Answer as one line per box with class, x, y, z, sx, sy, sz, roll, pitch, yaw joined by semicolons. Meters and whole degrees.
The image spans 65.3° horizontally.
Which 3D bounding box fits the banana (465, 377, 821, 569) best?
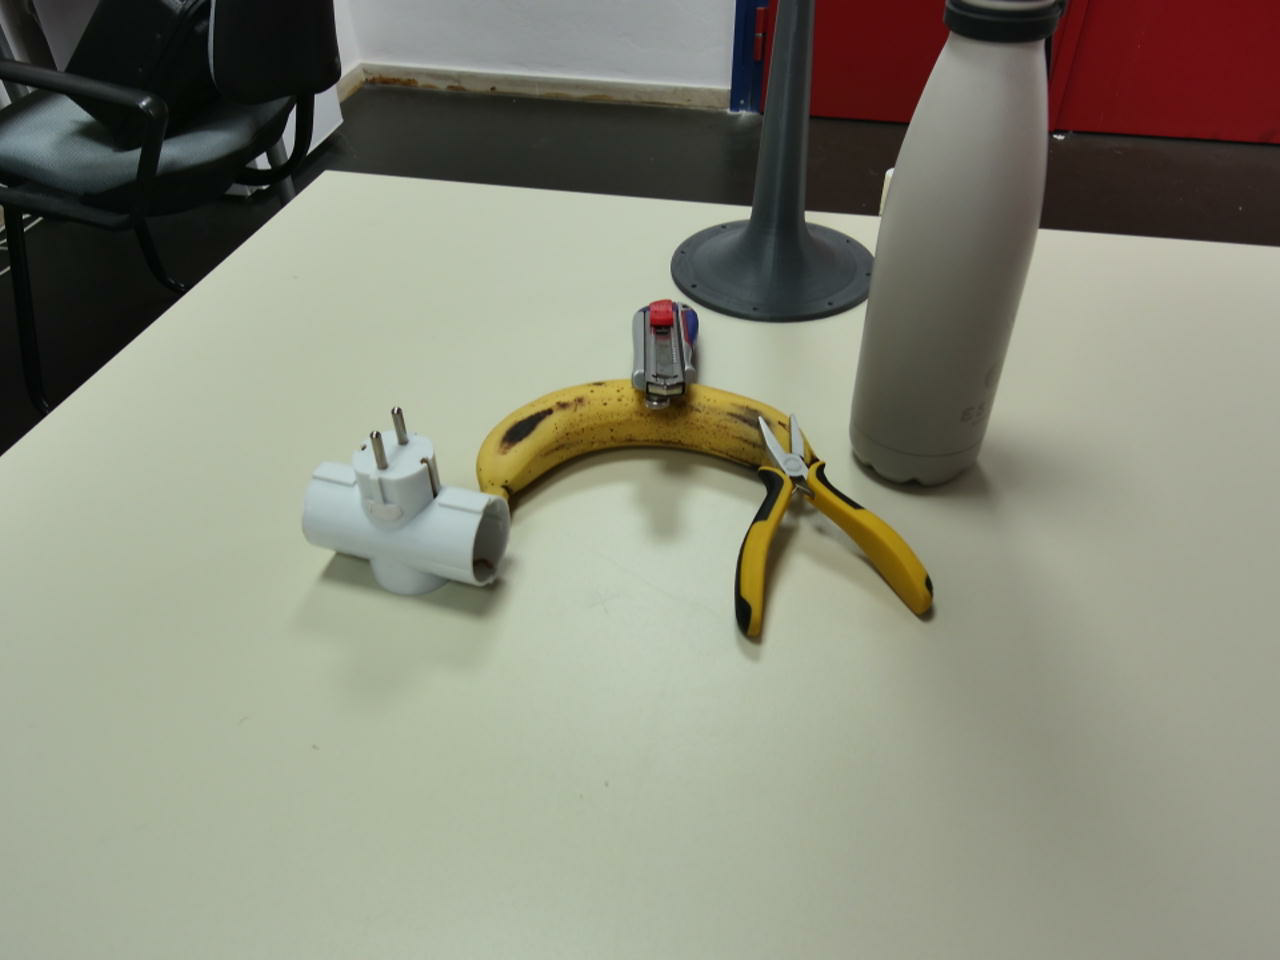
banana;-0.004;-0.020;0.547;0.186;0.038;0.097;-9;40;-12
